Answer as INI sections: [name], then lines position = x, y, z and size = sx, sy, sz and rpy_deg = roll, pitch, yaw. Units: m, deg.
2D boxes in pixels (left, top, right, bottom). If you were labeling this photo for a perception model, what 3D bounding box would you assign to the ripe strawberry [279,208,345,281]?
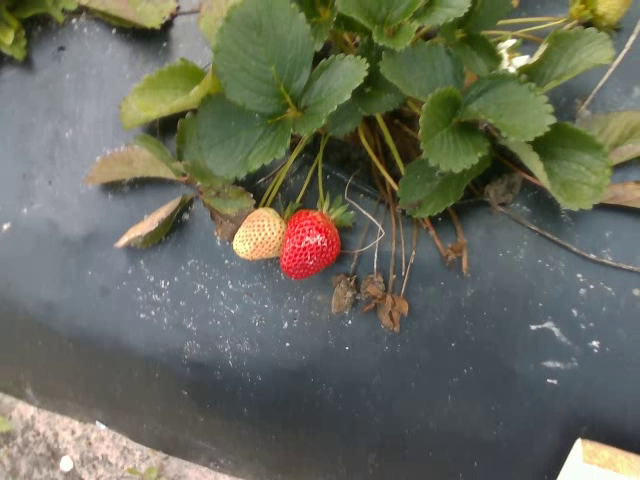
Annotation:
[ripe strawberry]
position = -0.008, 0.003, 0.311
size = 0.041, 0.034, 0.033
rpy_deg = -45, 1, -31
